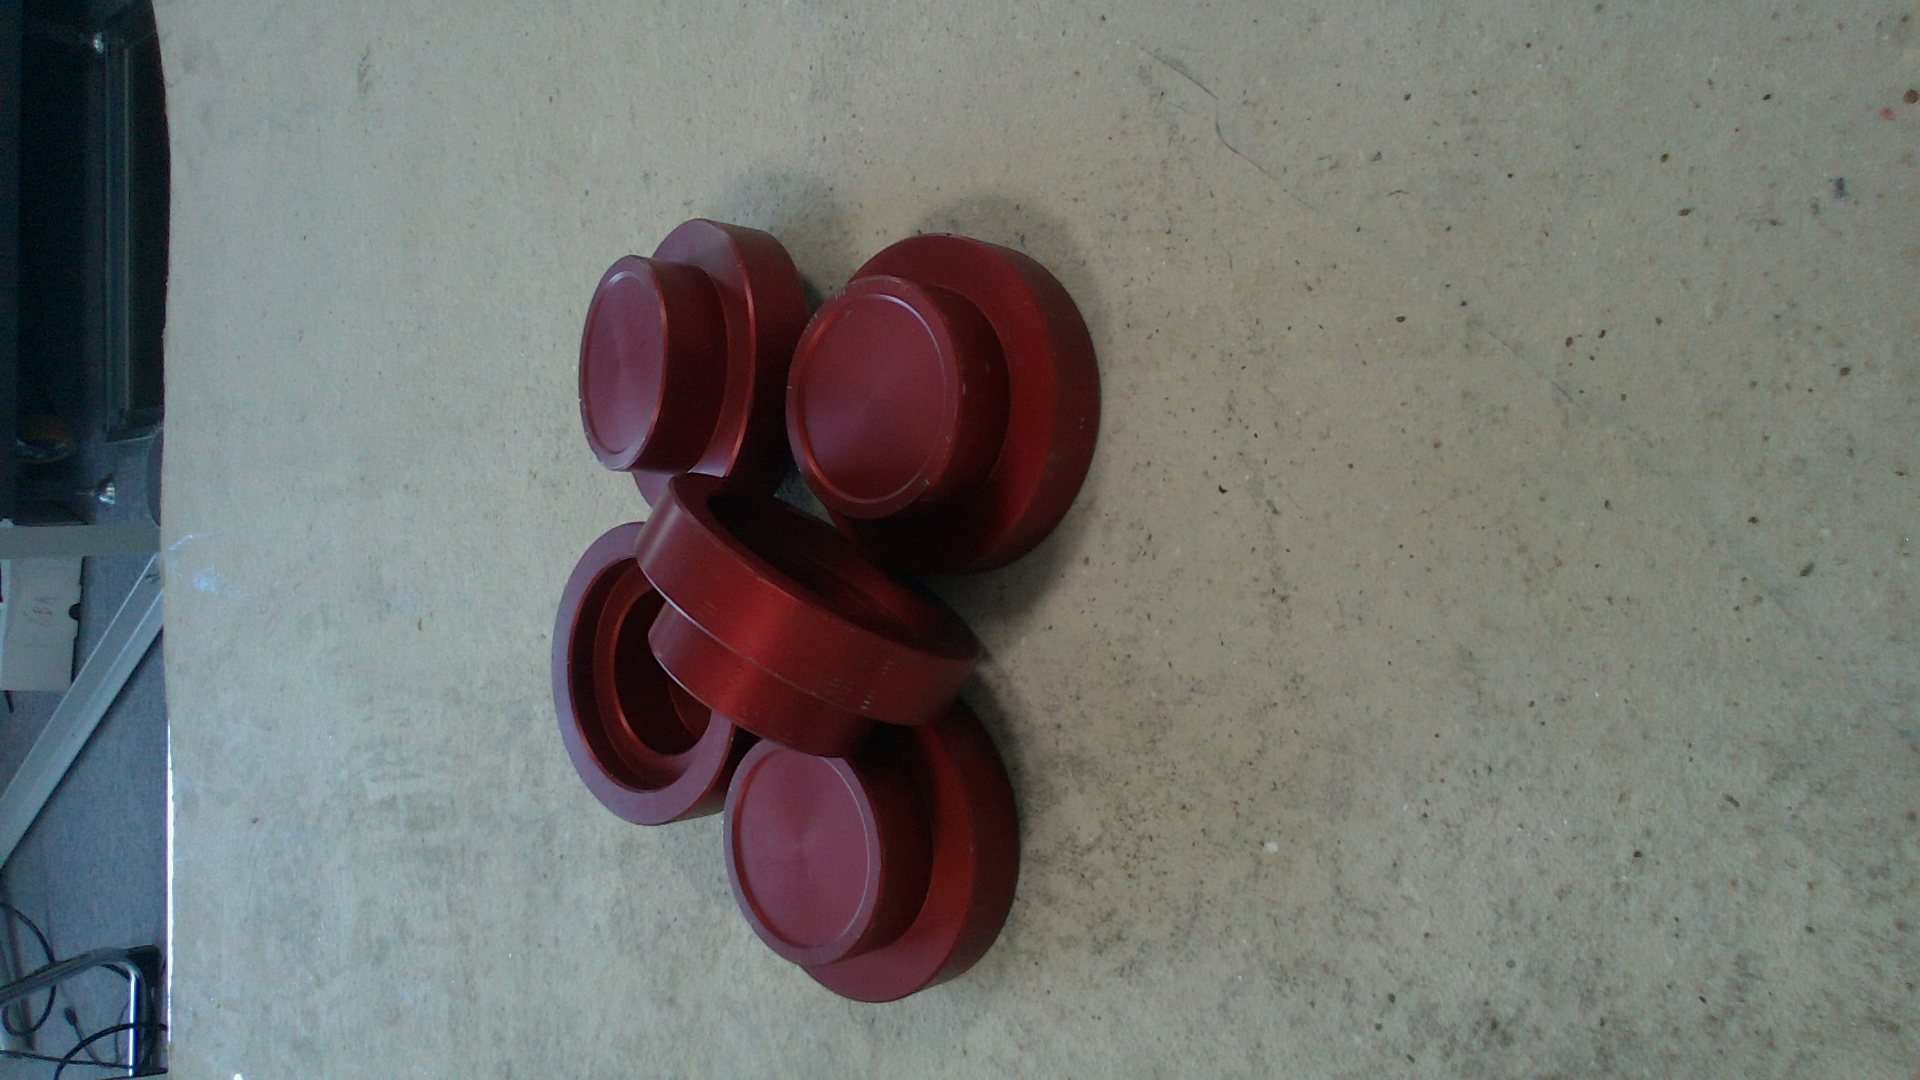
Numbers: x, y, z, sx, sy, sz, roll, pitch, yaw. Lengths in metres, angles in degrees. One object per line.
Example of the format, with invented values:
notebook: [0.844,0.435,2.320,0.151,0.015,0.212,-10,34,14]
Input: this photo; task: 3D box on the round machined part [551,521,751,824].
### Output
round machined part: [-0.091,0.042,0.461,0.098,0.042,0.098,2,93,40]

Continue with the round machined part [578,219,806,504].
round machined part: [-0.092,-0.055,0.447,0.098,0.042,0.098,-4,85,54]

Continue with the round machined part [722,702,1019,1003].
round machined part: [-0.033,0.089,0.412,0.098,0.042,0.098,-2,87,39]

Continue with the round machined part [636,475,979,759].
round machined part: [-0.046,0.024,0.383,0.098,0.098,0.042,36,99,34]

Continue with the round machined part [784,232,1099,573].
round machined part: [-0.012,-0.039,0.394,0.098,0.042,0.098,-1,88,39]
